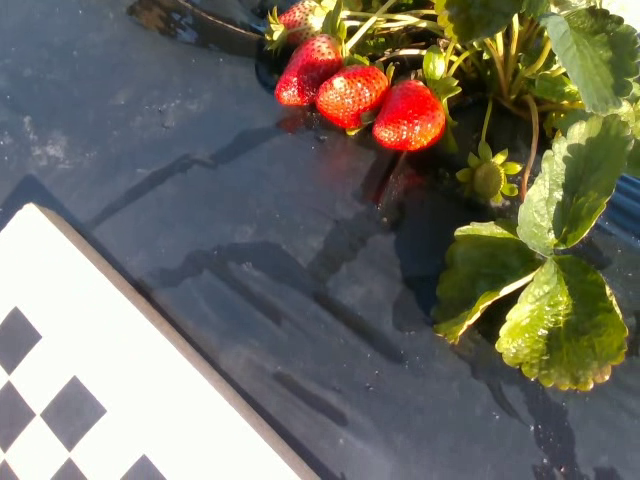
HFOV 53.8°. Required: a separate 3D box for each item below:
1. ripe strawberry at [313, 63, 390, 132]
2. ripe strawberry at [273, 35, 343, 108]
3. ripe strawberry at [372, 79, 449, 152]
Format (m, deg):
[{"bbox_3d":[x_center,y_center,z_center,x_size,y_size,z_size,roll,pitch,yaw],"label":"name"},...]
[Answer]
[{"bbox_3d":[0.013,-0.070,0.289,0.031,0.037,0.039,49,28,24],"label":"ripe strawberry"},{"bbox_3d":[-0.006,-0.084,0.306,0.031,0.046,0.023,38,-17,24],"label":"ripe strawberry"},{"bbox_3d":[0.035,-0.053,0.281,0.035,0.034,0.041,34,36,23],"label":"ripe strawberry"}]
